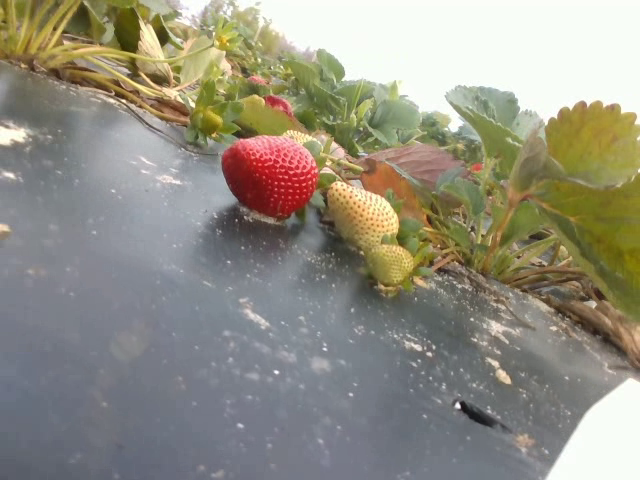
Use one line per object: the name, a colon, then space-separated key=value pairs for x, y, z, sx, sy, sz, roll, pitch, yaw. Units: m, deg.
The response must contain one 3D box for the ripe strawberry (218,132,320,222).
ripe strawberry: x=-0.023 y=-0.032 z=0.262 sx=0.050 sy=0.034 sz=0.059 roll=28 pitch=2 yaw=13
